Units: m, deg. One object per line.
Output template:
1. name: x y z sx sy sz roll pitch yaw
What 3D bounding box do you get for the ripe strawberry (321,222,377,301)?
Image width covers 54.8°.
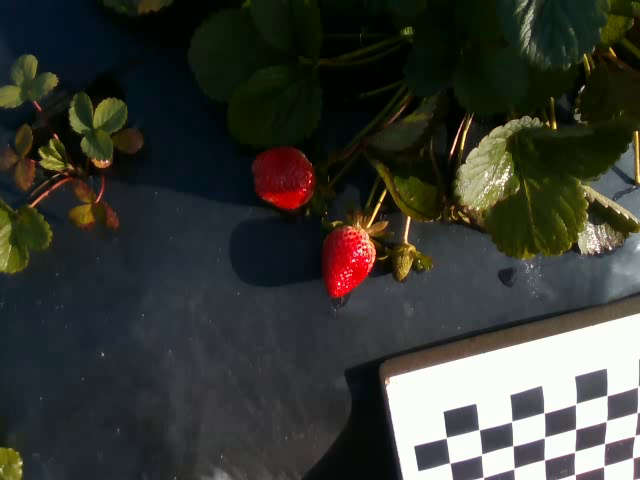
1. ripe strawberry: 0.017 0.015 0.405 0.043 0.053 0.038 30 -27 -18

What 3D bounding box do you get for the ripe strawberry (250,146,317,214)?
1. ripe strawberry: -0.024 -0.041 0.414 0.054 0.048 0.039 -6 23 -32
